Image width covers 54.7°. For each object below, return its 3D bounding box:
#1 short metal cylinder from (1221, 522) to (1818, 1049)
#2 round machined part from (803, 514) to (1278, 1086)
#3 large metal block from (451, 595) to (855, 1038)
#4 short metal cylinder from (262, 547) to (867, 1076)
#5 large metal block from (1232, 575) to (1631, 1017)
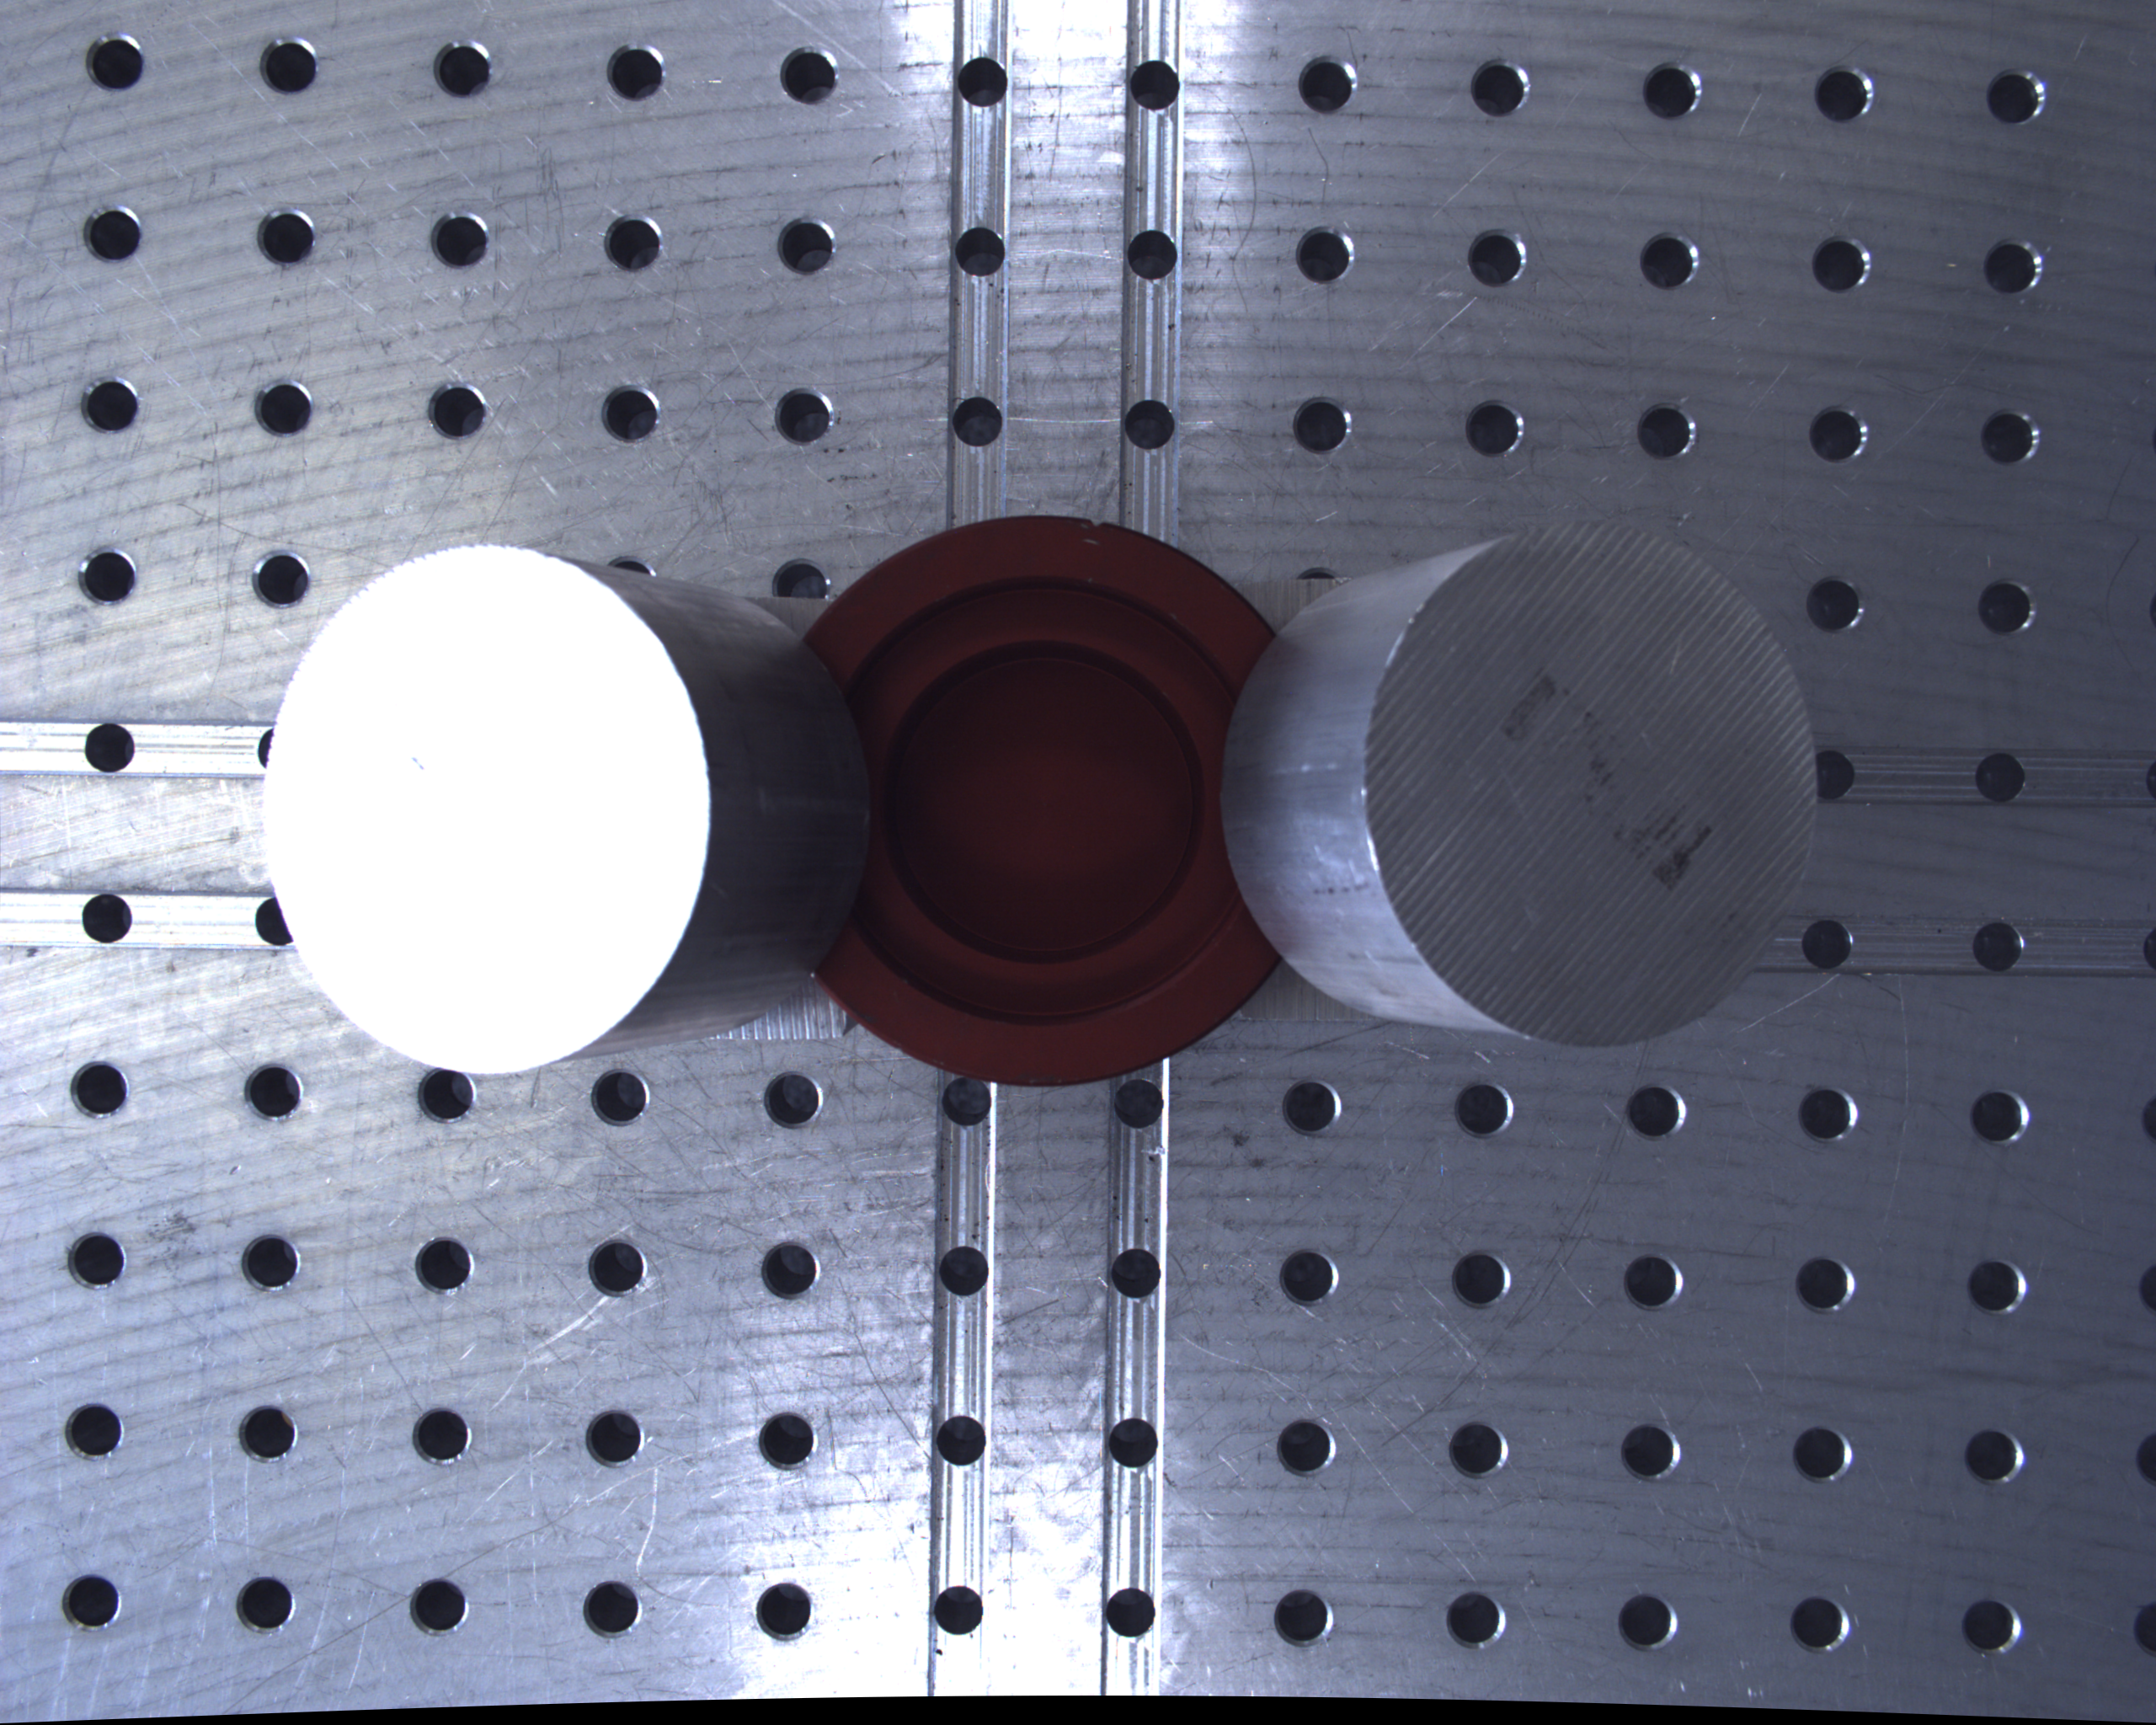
[{"bbox_3d":[0.070,-0.012,0.338,0.081,0.050,0.080,0,90,-20],"label":"short metal cylinder"},{"bbox_3d":[-0.006,-0.011,0.375,0.099,0.042,0.097,0,90,0],"label":"round machined part"},{"bbox_3d":[-0.081,-0.009,0.400,0.081,0.050,0.080,1,90,0],"label":"large metal block"},{"bbox_3d":[-0.082,-0.008,0.337,0.080,0.050,0.079,0,91,21],"label":"short metal cylinder"},{"bbox_3d":[0.069,-0.013,0.401,0.081,0.050,0.080,-1,90,0],"label":"large metal block"}]
